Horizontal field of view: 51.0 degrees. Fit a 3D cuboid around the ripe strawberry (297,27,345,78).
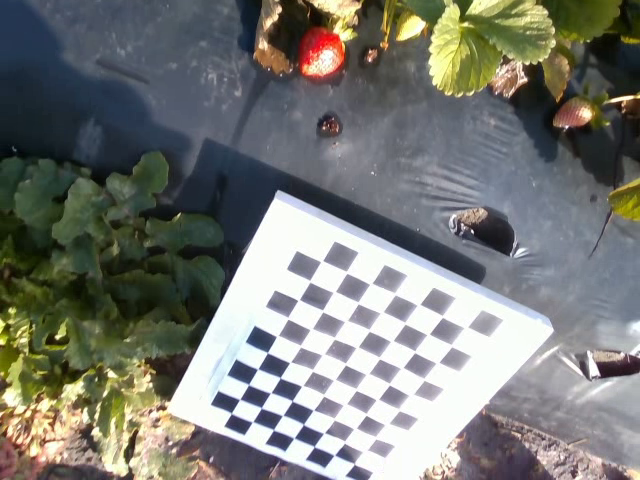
[{"bbox_3d":[-0.004,-0.127,0.468,0.046,0.054,0.037,44,-21,-19],"label":"ripe strawberry"}]
